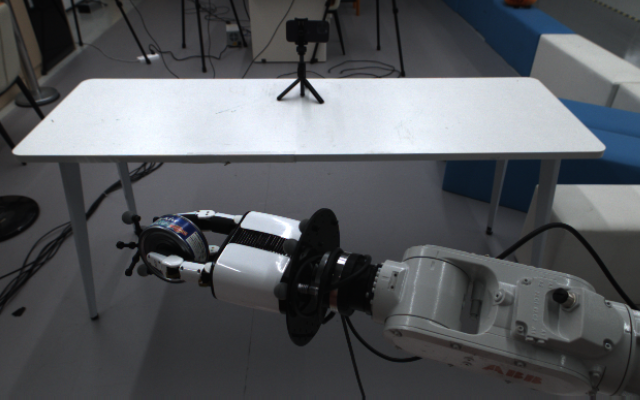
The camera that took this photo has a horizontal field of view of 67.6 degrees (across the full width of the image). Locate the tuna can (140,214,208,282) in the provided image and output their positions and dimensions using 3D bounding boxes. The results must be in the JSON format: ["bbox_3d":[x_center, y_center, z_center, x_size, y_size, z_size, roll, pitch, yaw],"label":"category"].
[{"bbox_3d":[-0.184,0.062,0.615,0.085,0.085,0.034,12,29,14],"label":"tuna can"}]
